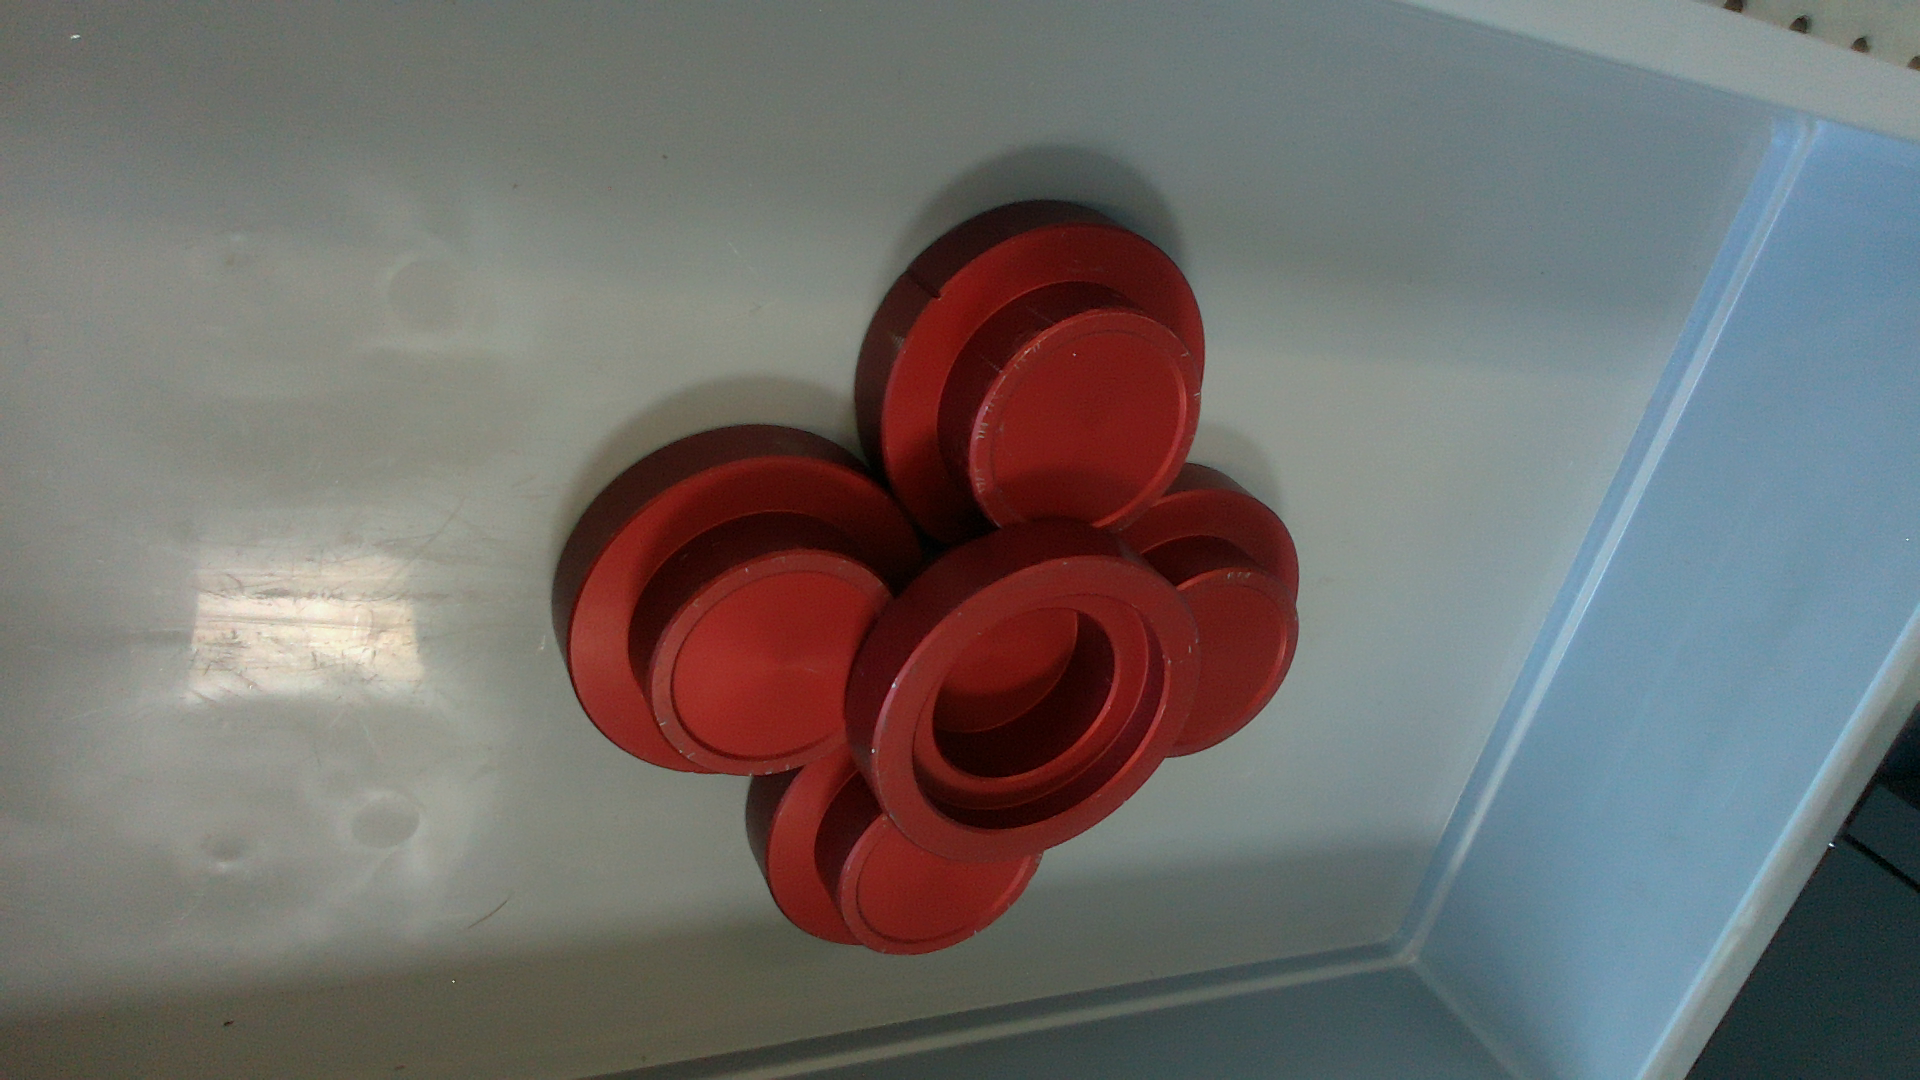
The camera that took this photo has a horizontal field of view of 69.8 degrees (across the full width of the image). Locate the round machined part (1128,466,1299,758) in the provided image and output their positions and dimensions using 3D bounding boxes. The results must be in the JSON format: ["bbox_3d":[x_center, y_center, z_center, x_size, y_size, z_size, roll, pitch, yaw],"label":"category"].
[{"bbox_3d":[0.065,0.029,0.429,0.098,0.042,0.098,-14,124,-21],"label":"round machined part"}]

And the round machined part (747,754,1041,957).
[{"bbox_3d":[-0.013,0.088,0.423,0.098,0.042,0.098,-14,123,-22],"label":"round machined part"}]

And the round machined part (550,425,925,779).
[{"bbox_3d":[-0.053,0.023,0.361,0.098,0.042,0.098,-14,124,-21],"label":"round machined part"}]

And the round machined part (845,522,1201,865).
[{"bbox_3d":[0.014,0.038,0.380,0.098,0.042,0.098,-14,124,-21],"label":"round machined part"}]

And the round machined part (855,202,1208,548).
[{"bbox_3d":[0.025,-0.036,0.366,0.098,0.042,0.098,-14,124,-21],"label":"round machined part"}]
